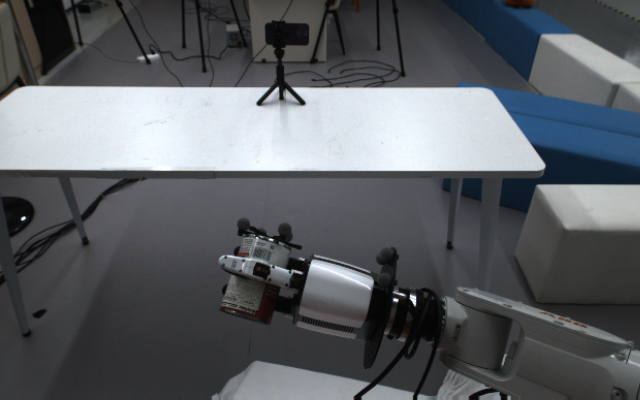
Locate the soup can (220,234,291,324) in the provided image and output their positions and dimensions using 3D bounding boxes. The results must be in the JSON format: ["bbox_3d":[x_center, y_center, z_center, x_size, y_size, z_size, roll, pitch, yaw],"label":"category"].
[{"bbox_3d":[-0.080,0.104,0.625,0.067,0.067,0.101,11,72,13],"label":"soup can"}]
